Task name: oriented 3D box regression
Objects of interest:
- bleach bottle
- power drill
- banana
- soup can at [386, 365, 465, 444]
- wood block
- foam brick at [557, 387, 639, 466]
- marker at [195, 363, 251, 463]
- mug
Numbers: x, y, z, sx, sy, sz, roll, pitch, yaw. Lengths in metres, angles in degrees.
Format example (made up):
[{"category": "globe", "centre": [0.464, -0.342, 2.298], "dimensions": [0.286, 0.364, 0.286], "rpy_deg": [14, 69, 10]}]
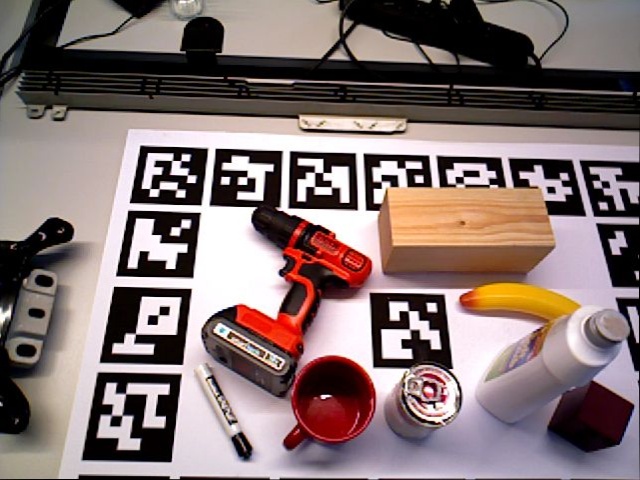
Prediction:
[{"category": "bleach bottle", "centre": [0.243, 0.123, 0.551], "dimensions": [0.068, 0.256, 0.101], "rpy_deg": [29, 62, 12]}, {"category": "power drill", "centre": [-0.041, 0.064, 0.683], "dimensions": [0.184, 0.058, 0.183], "rpy_deg": [30, 63, 8]}, {"category": "banana", "centre": [0.272, 0.086, 0.691], "dimensions": [0.197, 0.039, 0.074], "rpy_deg": [17, 76, 3]}, {"category": "soup can", "centre": [0.114, 0.178, 0.593], "dimensions": [0.067, 0.104, 0.067], "rpy_deg": [2, 57, -5]}, {"category": "wood block", "centre": [0.194, -0.007, 0.710], "dimensions": [0.205, 0.092, 0.089], "rpy_deg": [2, 63, -3]}, {"category": "foam brick", "centre": [0.315, 0.211, 0.610], "dimensions": [0.053, 0.079, 0.050], "rpy_deg": [32, 62, 15]}, {"category": "marker", "centre": [-0.112, 0.199, 0.627], "dimensions": [0.019, 0.020, 0.120], "rpy_deg": [-26, 67, -14]}, {"category": "mug", "centre": [0.005, 0.185, 0.601], "dimensions": [0.093, 0.083, 0.115], "rpy_deg": [43, 70, 15]}]
